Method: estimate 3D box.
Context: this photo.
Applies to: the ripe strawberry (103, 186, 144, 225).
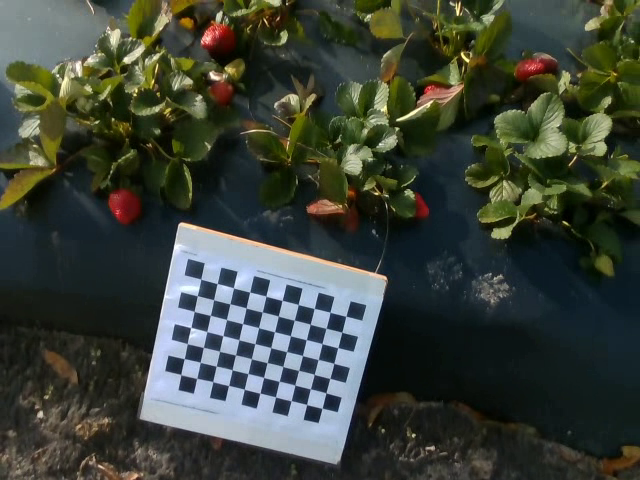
[{"bbox_3d":[-0.214,-0.026,1.058,0.041,0.041,0.047,-15,42,9],"label":"ripe strawberry"}]
